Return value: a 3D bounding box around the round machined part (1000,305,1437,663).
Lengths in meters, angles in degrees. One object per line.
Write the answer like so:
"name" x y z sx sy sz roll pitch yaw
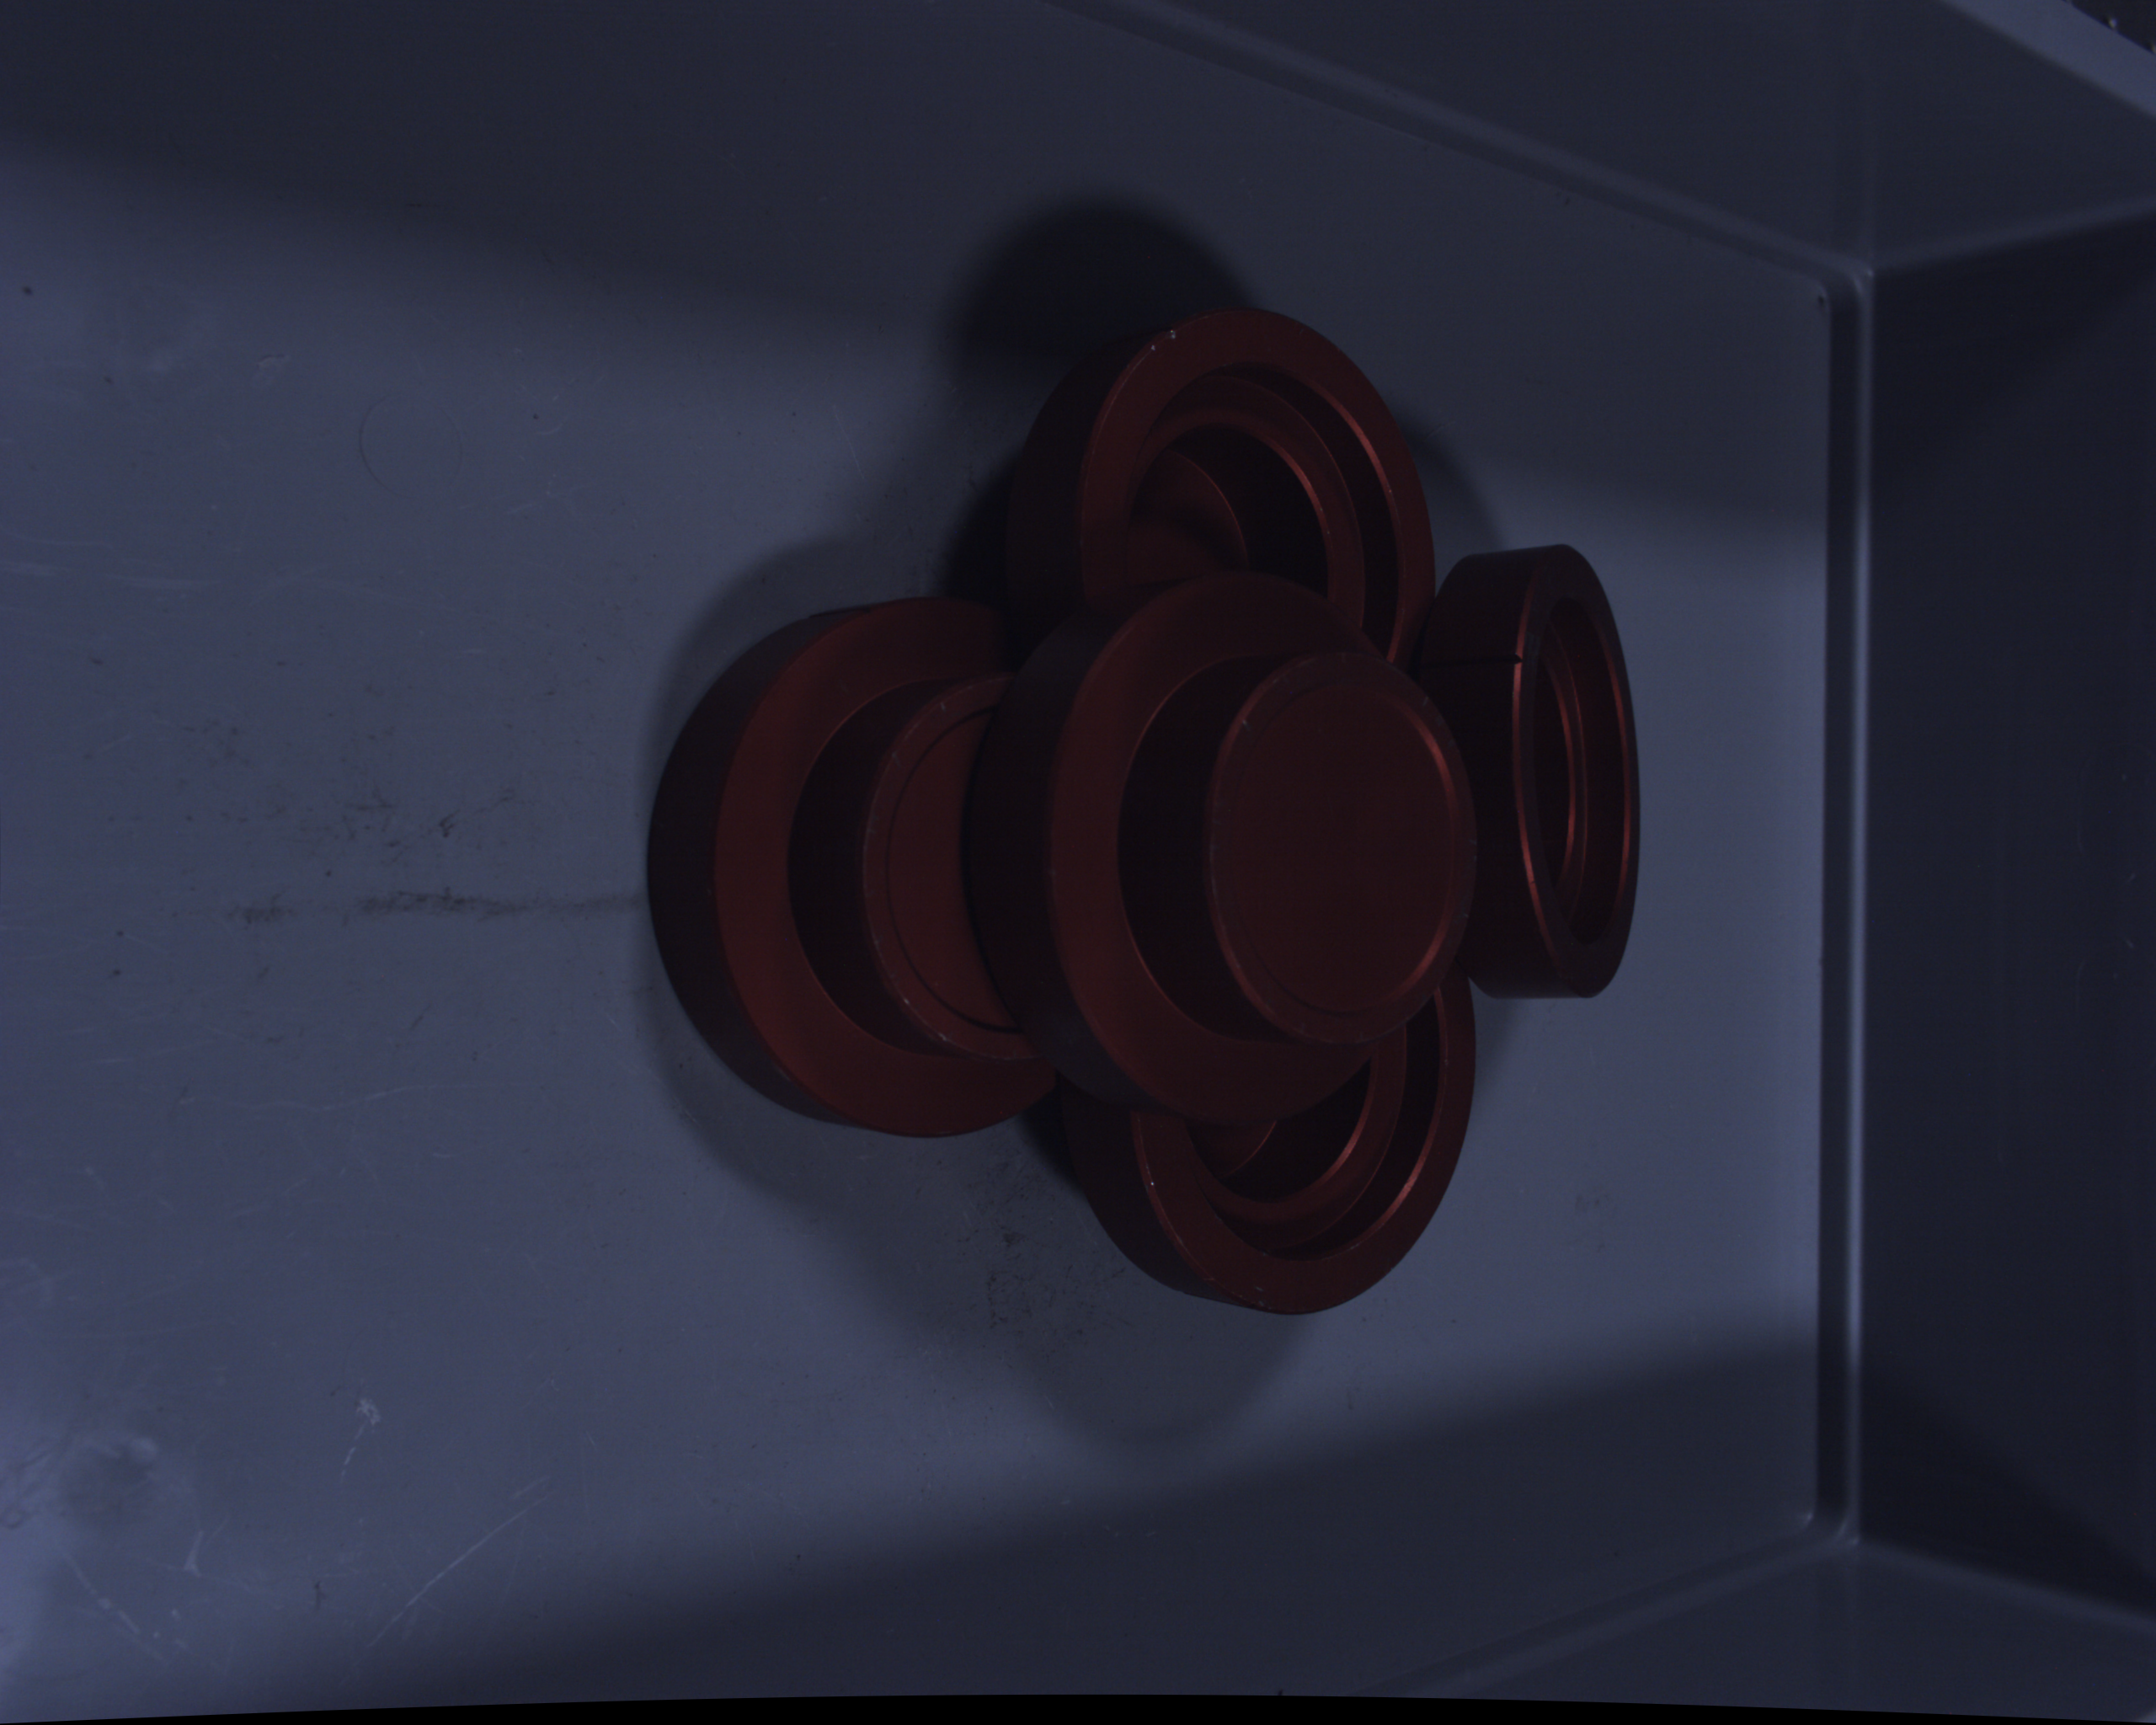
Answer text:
"round machined part" 0.024 -0.058 0.415 0.099 0.042 0.097 0 90 -40

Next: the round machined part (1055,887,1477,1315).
"round machined part" 0.034 0.039 0.424 0.099 0.042 0.097 0 90 -40

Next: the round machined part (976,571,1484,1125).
"round machined part" 0.034 -0.003 0.367 0.099 0.042 0.097 0 90 -40

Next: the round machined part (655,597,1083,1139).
"round machined part" -0.022 0.001 0.374 0.099 0.042 0.097 0 90 -40

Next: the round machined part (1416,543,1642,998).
"round machined part" 0.091 -0.019 0.458 0.098 0.042 0.097 9 80 -60
